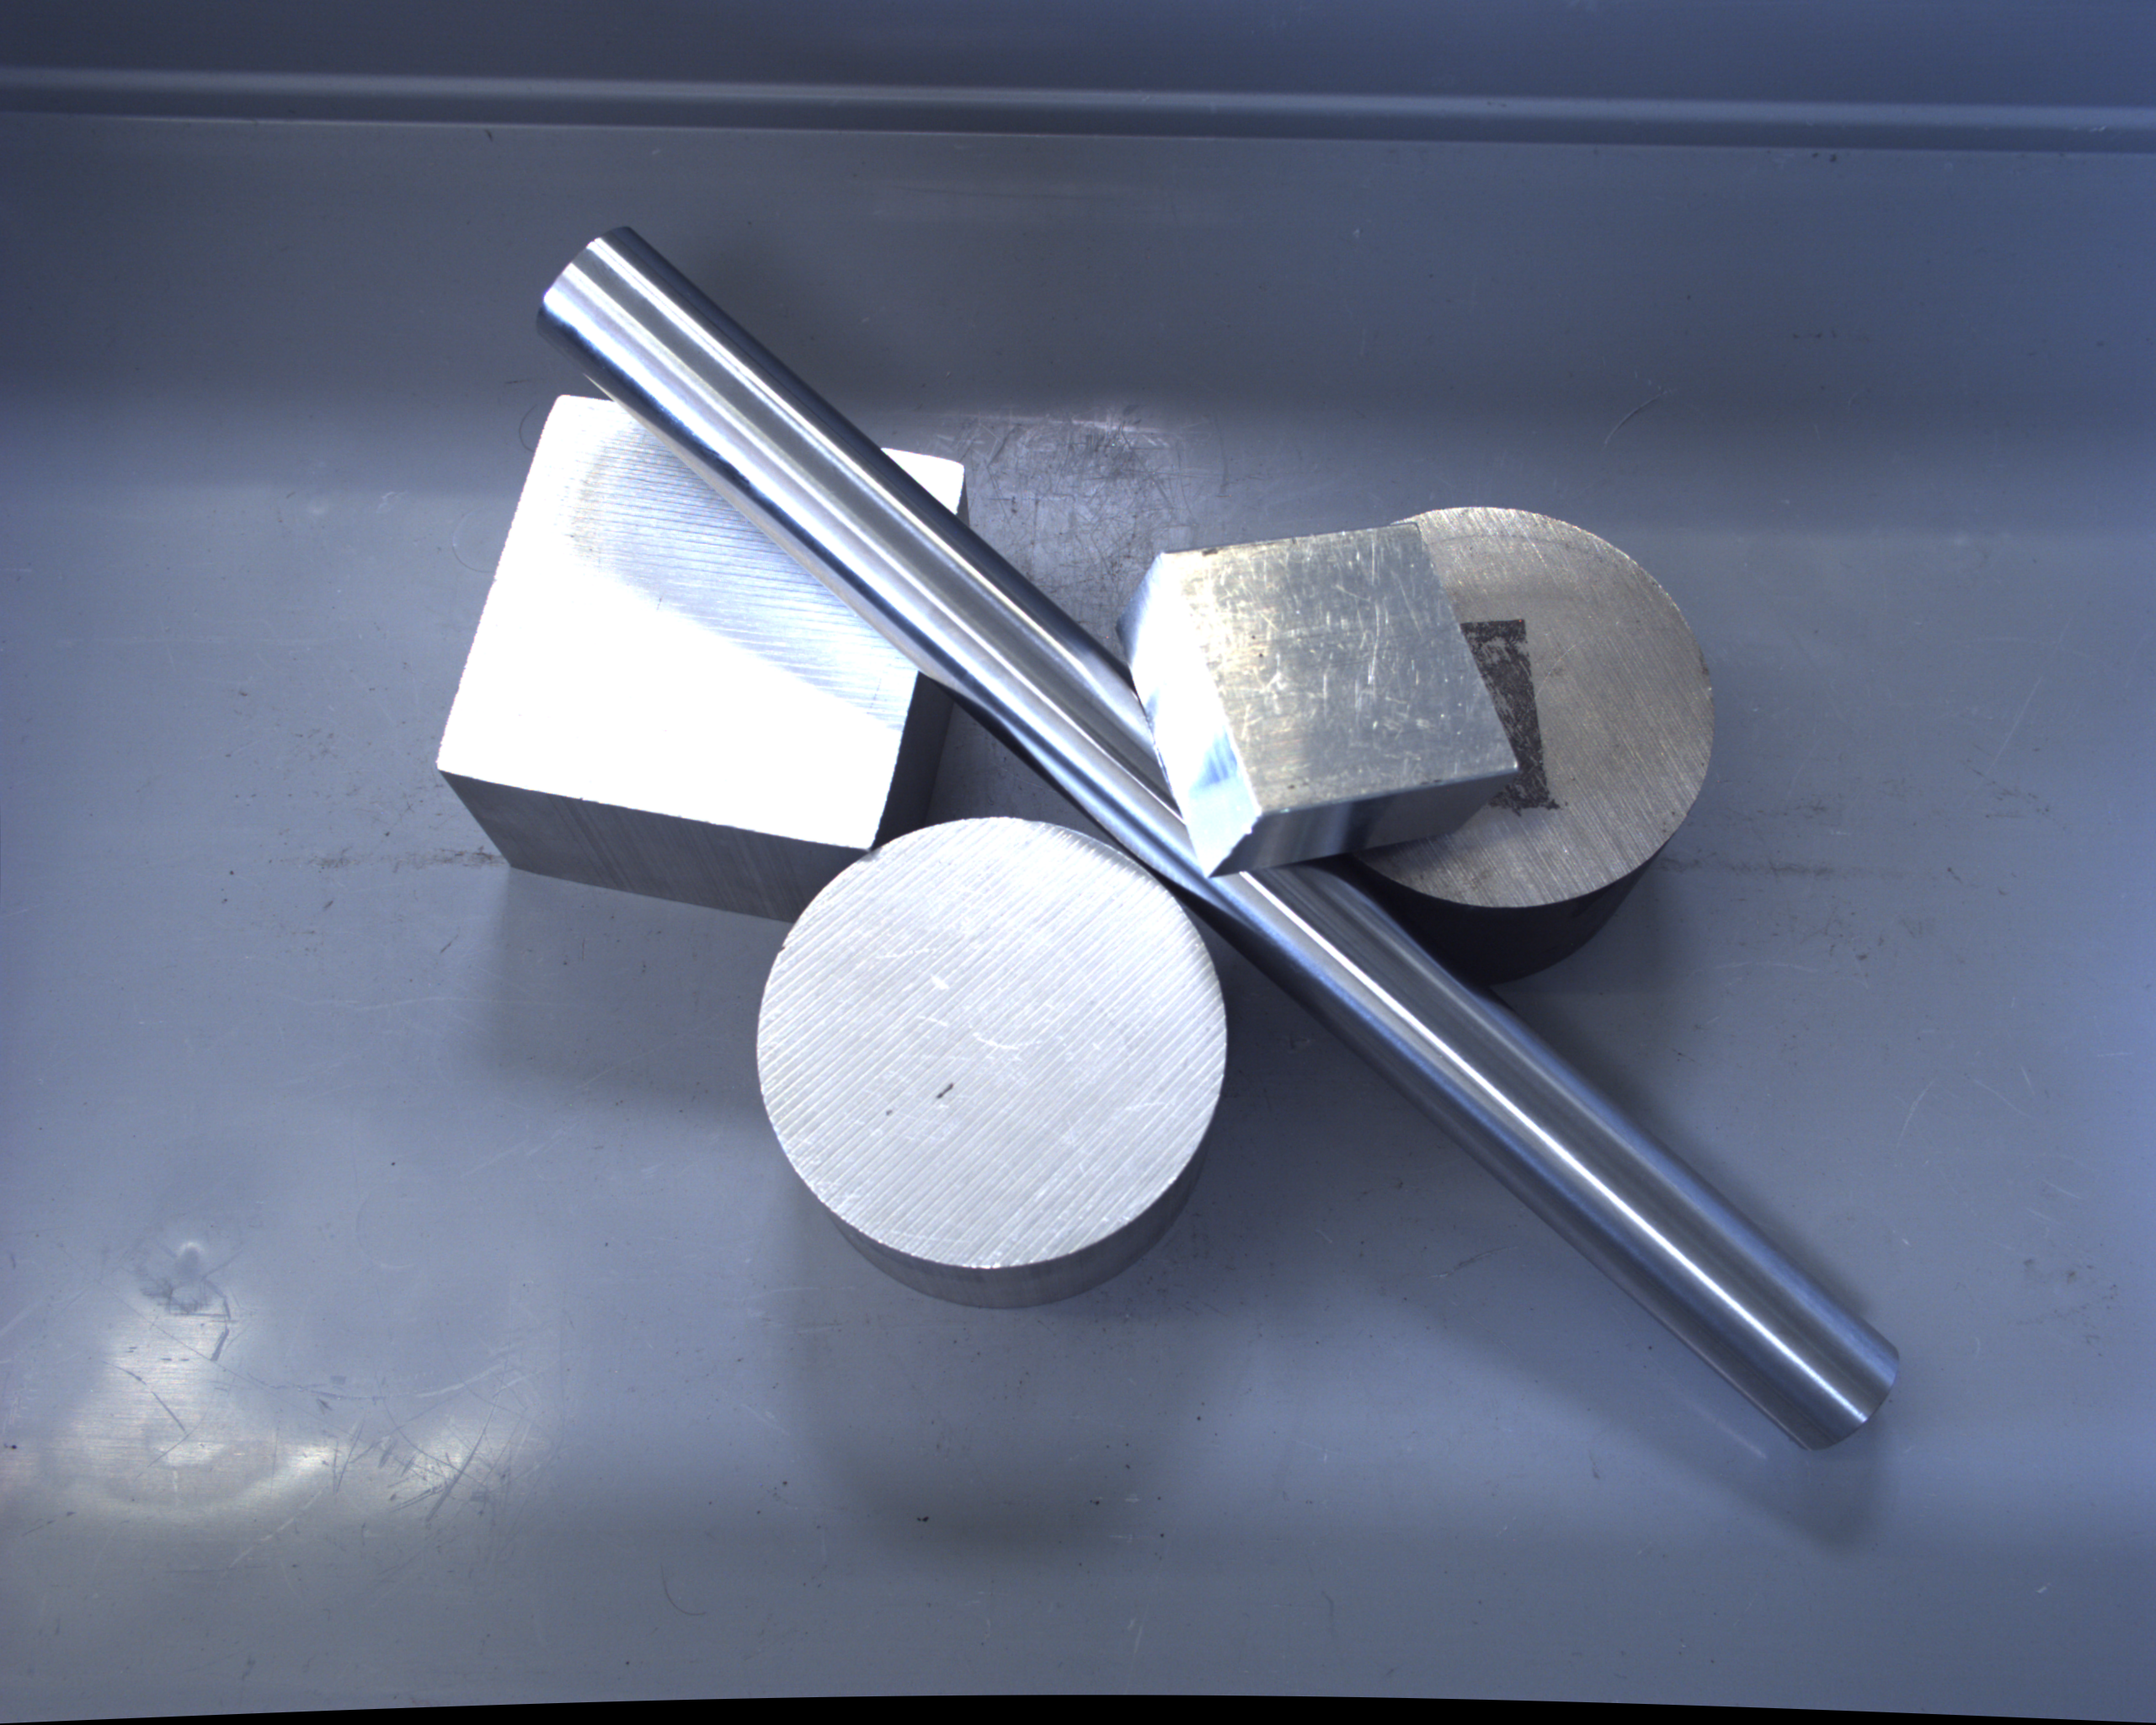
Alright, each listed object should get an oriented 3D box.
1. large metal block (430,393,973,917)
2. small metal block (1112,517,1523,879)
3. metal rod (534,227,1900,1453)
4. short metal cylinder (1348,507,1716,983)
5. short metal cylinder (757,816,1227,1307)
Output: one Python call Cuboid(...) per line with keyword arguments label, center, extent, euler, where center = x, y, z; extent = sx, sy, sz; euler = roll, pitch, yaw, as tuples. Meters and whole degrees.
Cuboid(label="large metal block", center=(-0.068, -0.037, 0.406), extent=(0.080, 0.050, 0.080), euler=(10, 70, 3))
Cuboid(label="small metal block", center=(0.040, -0.029, 0.358), extent=(0.050, 0.025, 0.050), euler=(-11, 69, -23))
Cuboid(label="metal rod", center=(0.025, -0.003, 0.372), extent=(0.300, 0.025, 0.025), euler=(41, 75, -1))
Cuboid(label="short metal cylinder", center=(0.076, -0.021, 0.403), extent=(0.081, 0.050, 0.080), euler=(0, 70, 0))
Cuboid(label="short metal cylinder", center=(-0.015, 0.038, 0.381), extent=(0.081, 0.050, 0.080), euler=(0, 70, 0))
